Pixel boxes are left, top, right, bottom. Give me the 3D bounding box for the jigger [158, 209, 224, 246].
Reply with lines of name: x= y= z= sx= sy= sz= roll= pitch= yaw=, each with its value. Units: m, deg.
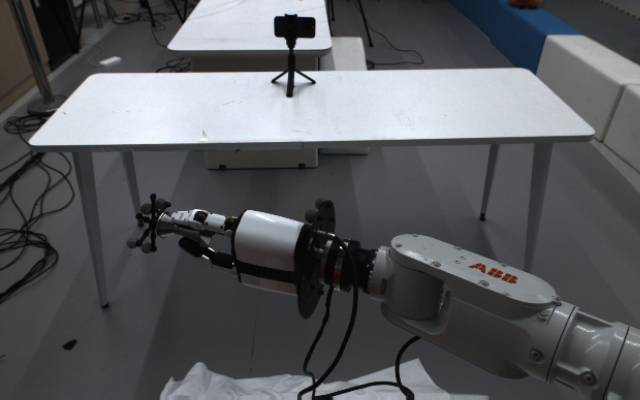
jigger: x=-0.187 y=0.037 z=0.691 sx=0.071 sy=0.043 sz=0.043 roll=8 pitch=35 yaw=12
